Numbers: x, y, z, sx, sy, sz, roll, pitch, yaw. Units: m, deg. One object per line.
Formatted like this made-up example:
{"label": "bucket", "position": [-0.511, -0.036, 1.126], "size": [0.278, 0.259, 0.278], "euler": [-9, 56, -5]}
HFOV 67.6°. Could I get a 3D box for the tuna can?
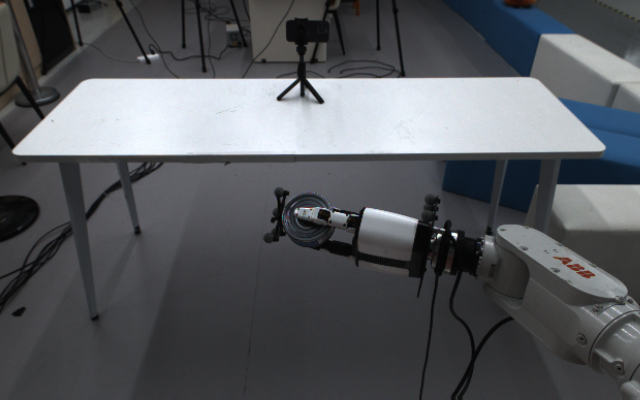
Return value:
{"label": "tuna can", "position": [-0.017, 0.030, 0.779], "size": [0.085, 0.034, 0.085], "euler": [-2, 69, 6]}
